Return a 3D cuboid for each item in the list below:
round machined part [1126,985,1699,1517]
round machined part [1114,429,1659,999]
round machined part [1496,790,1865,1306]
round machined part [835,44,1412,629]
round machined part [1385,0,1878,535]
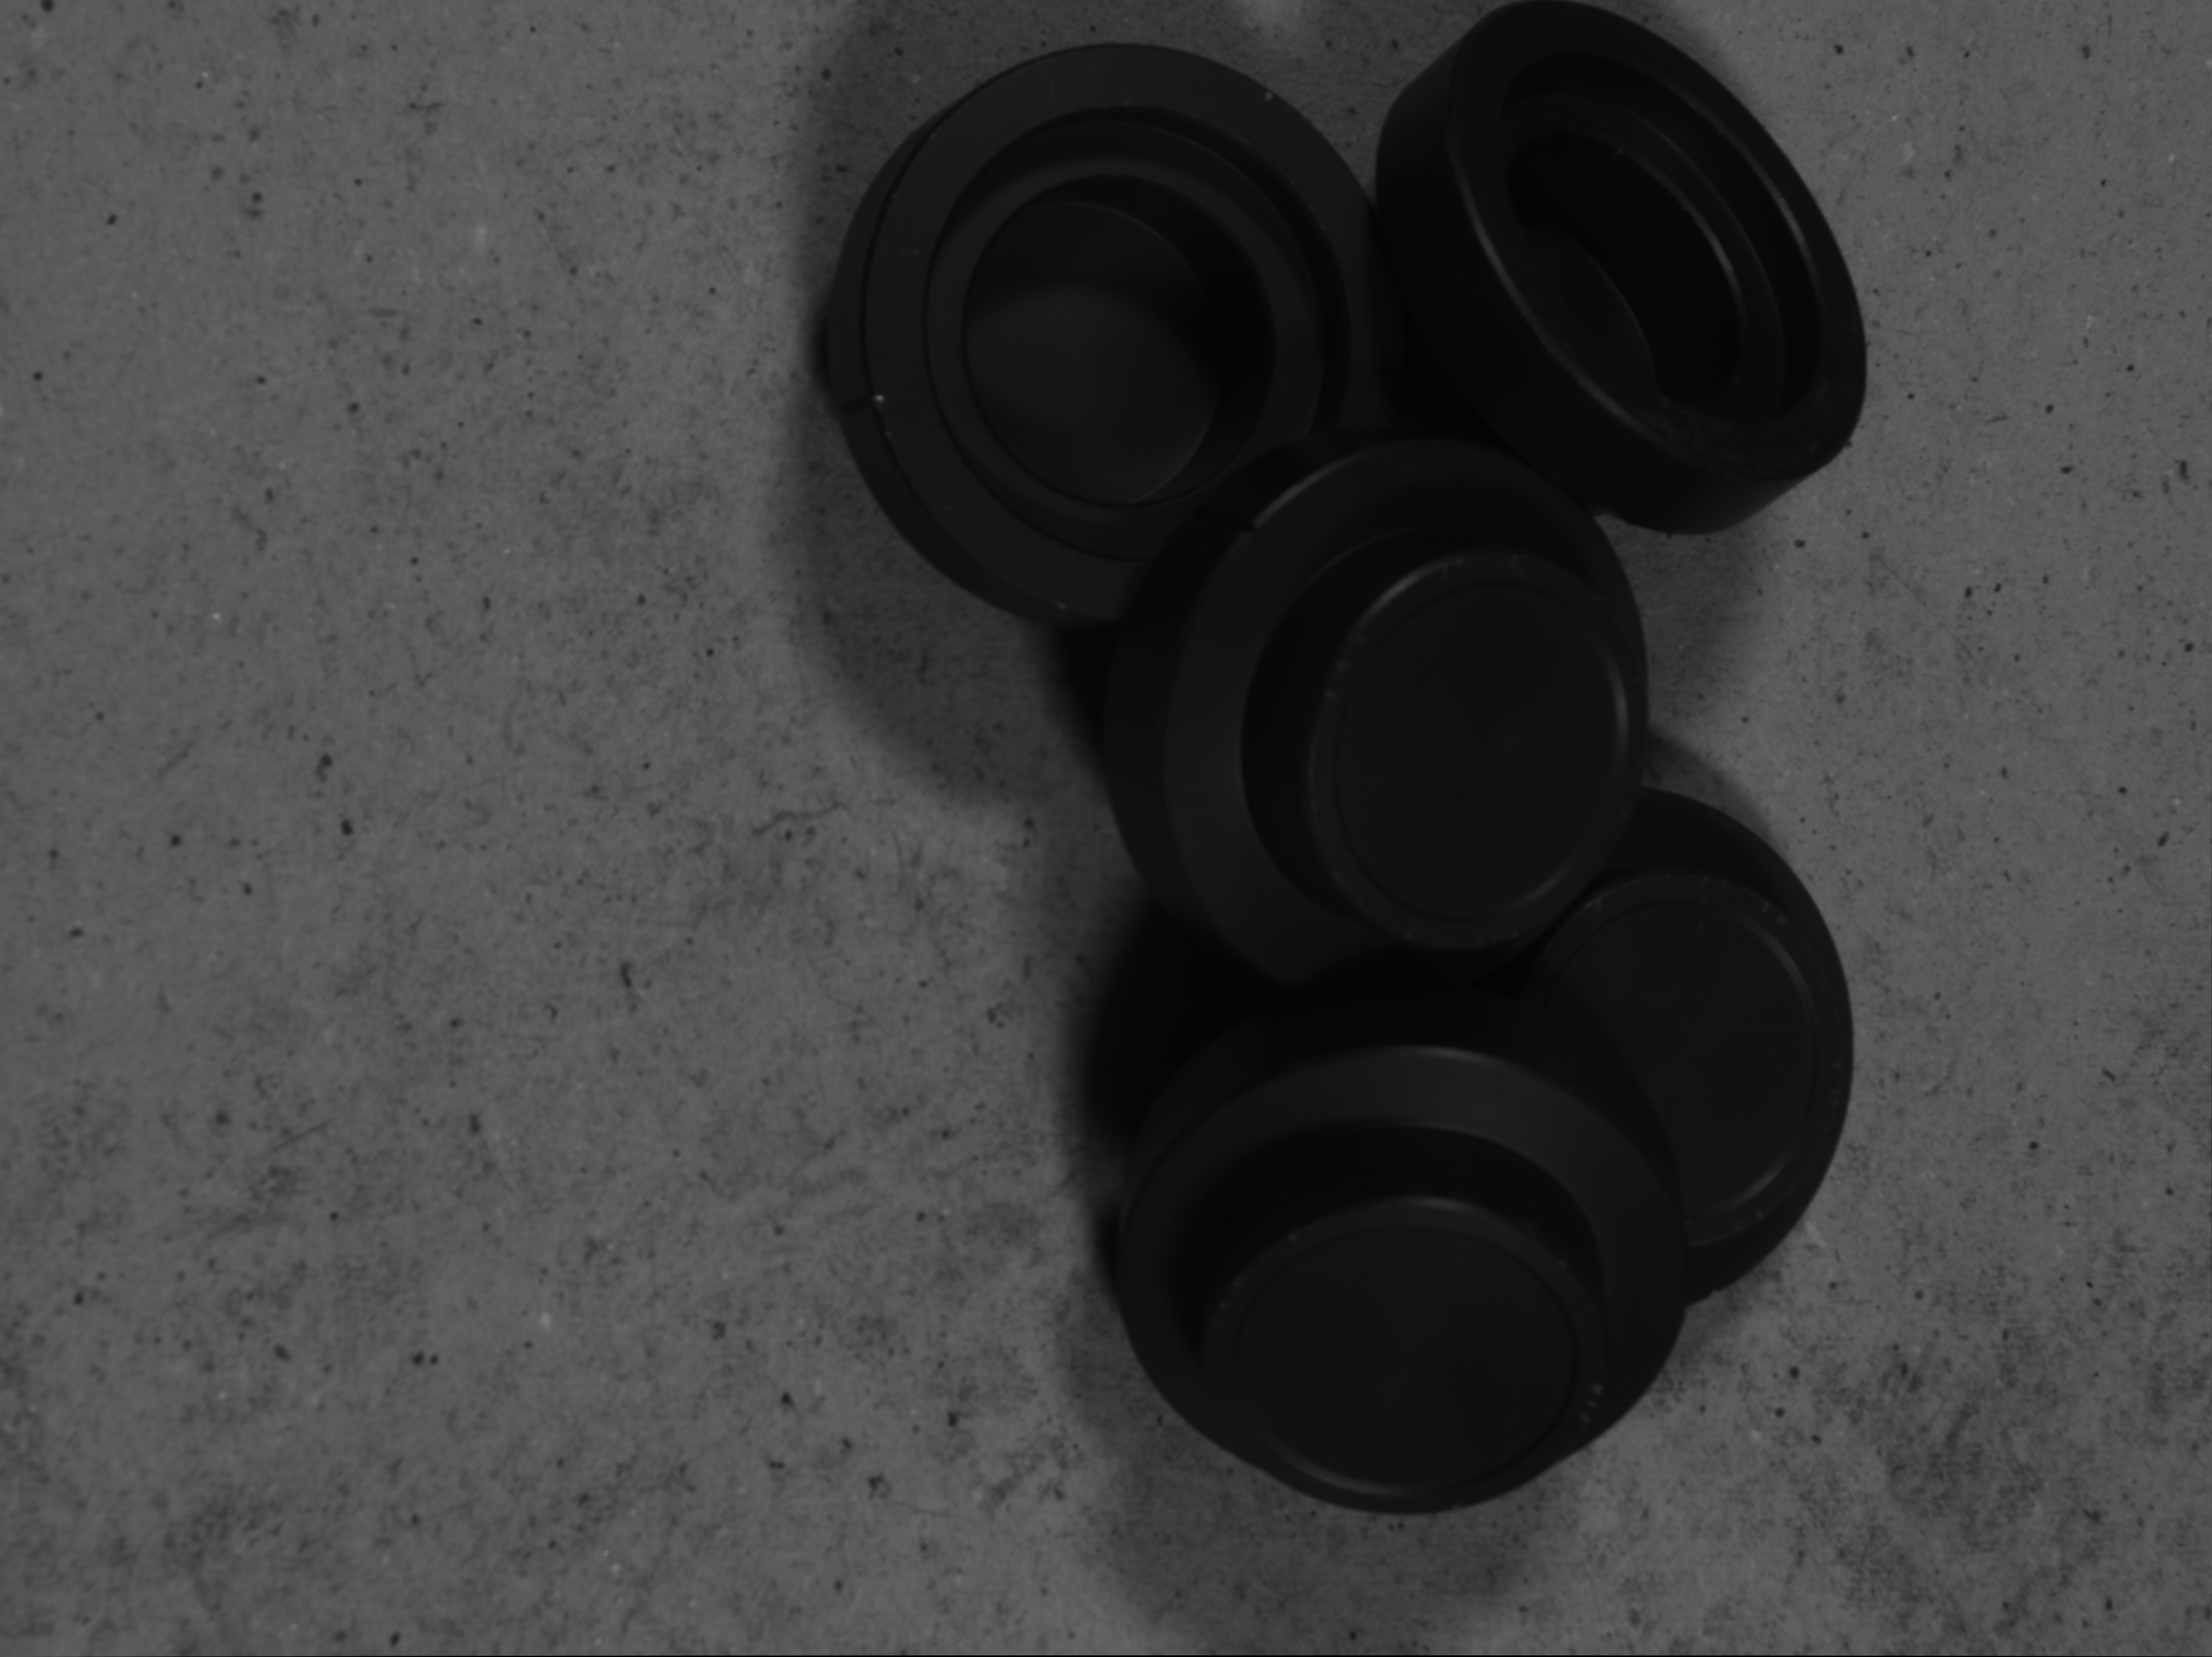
[{"bbox_3d":[0.052,0.079,0.627,0.098,0.042,0.098,1,121,2],"label":"round machined part"},{"bbox_3d":[0.054,-0.017,0.619,0.098,0.042,0.098,-6,103,-27],"label":"round machined part"},{"bbox_3d":[0.097,0.041,0.669,0.098,0.042,0.098,0,90,-20],"label":"round machined part"},{"bbox_3d":[0.000,-0.083,0.634,0.098,0.042,0.098,0,90,-20],"label":"round machined part"},{"bbox_3d":[0.087,-0.095,0.652,0.098,0.042,0.098,20,54,-29],"label":"round machined part"}]
